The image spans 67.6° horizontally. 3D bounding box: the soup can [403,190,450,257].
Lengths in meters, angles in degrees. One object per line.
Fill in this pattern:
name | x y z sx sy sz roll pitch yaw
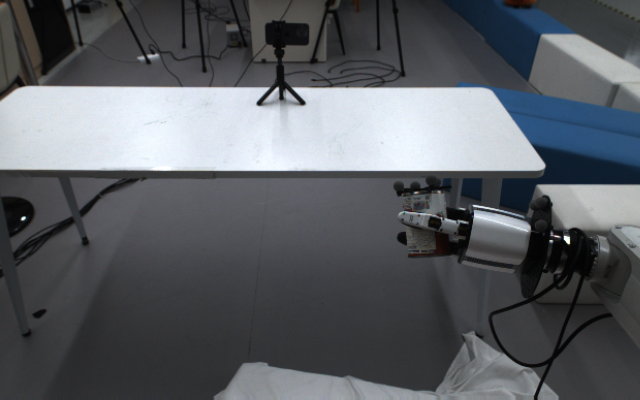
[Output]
soup can | 0.170 0.039 0.769 0.067 0.101 0.067 -5 -5 0
